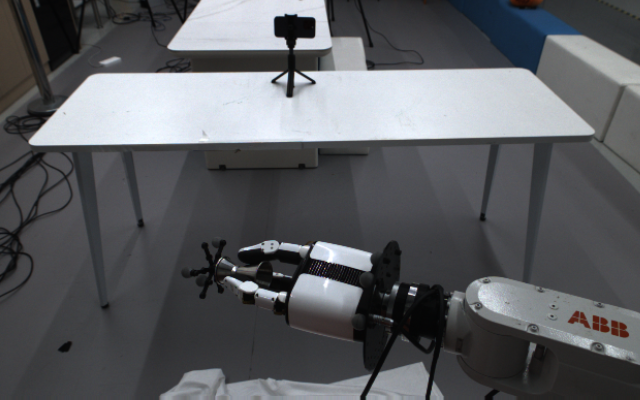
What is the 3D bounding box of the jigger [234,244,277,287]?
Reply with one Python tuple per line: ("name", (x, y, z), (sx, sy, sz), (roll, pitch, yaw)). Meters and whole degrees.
("jigger", (-0.096, 0.094, 0.661), (0.071, 0.043, 0.043), (3, 32, 25))
